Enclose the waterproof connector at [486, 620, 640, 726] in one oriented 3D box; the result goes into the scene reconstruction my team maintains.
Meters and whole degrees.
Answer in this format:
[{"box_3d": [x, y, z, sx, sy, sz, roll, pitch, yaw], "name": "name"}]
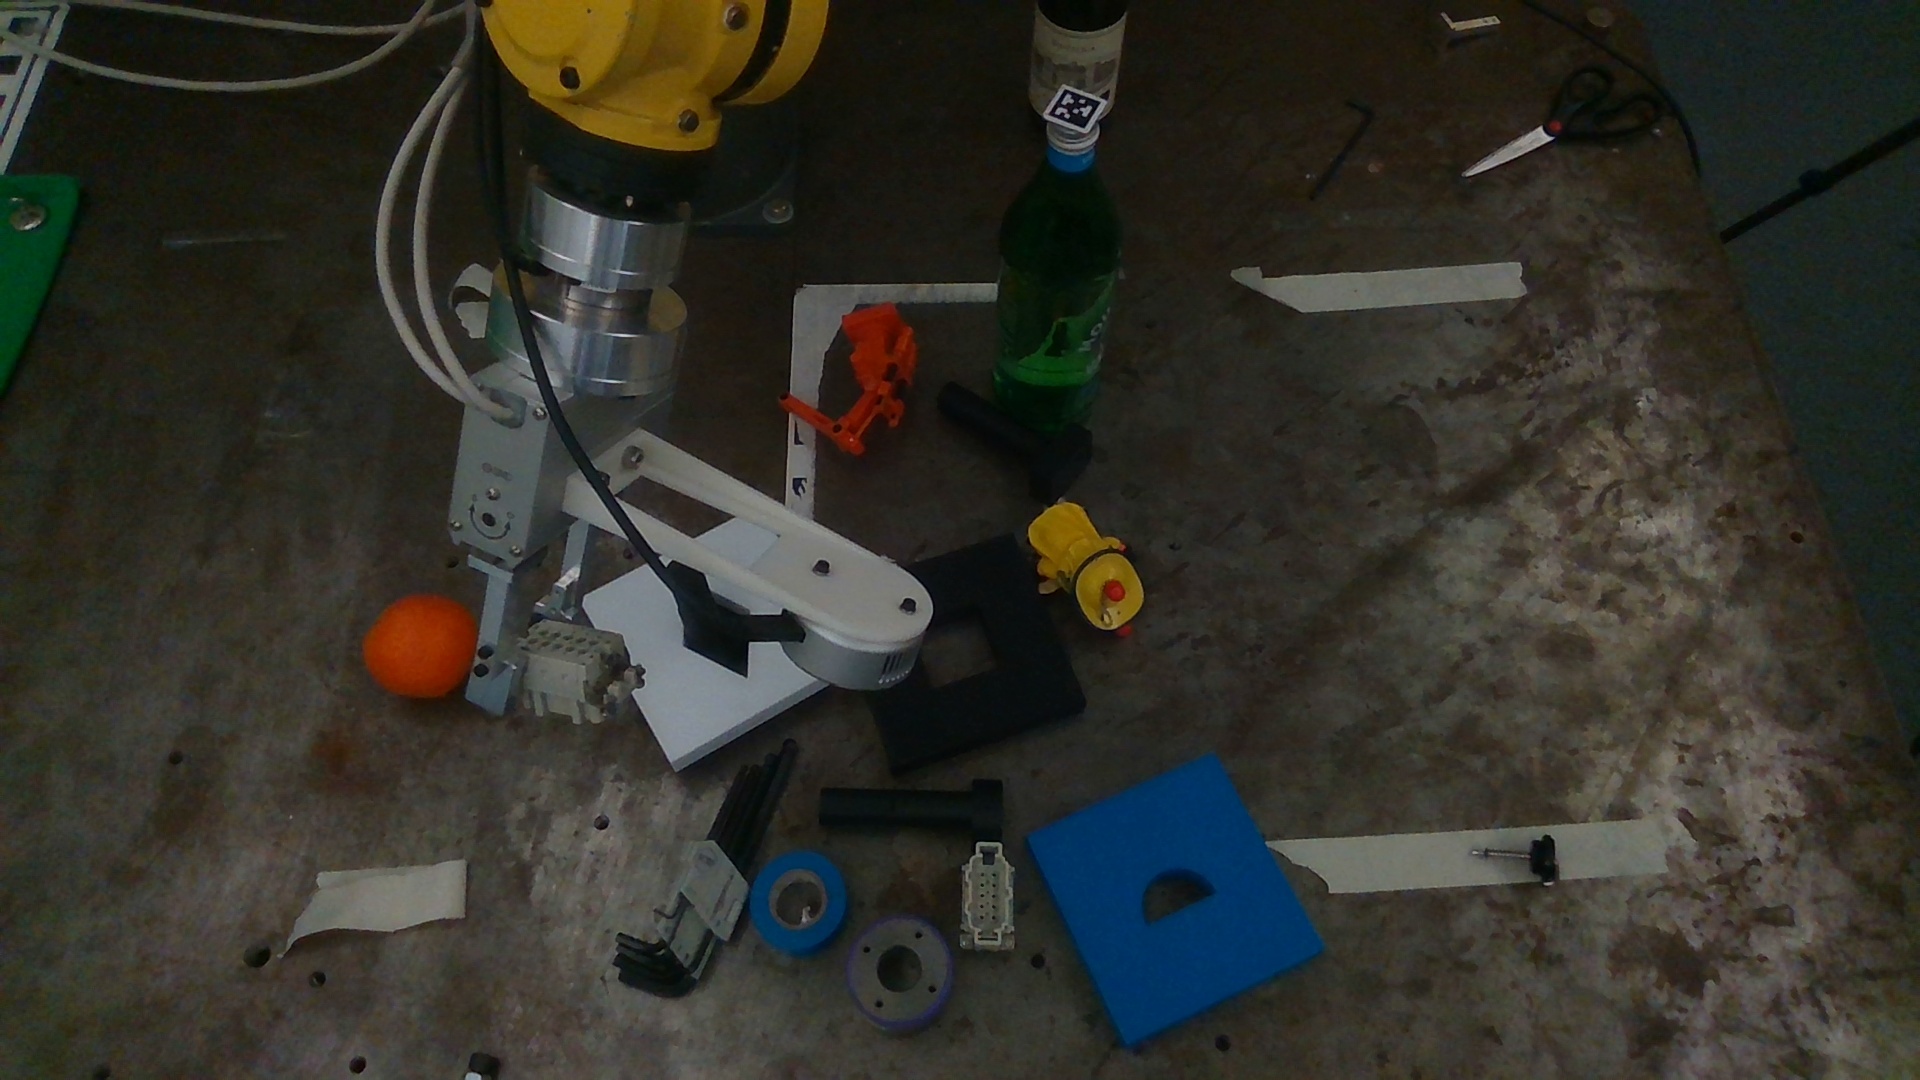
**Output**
[{"box_3d": [-0.191, 0.065, 0.672, 0.069, 0.038, 0.036, 7, 27, 15], "name": "waterproof connector"}]
